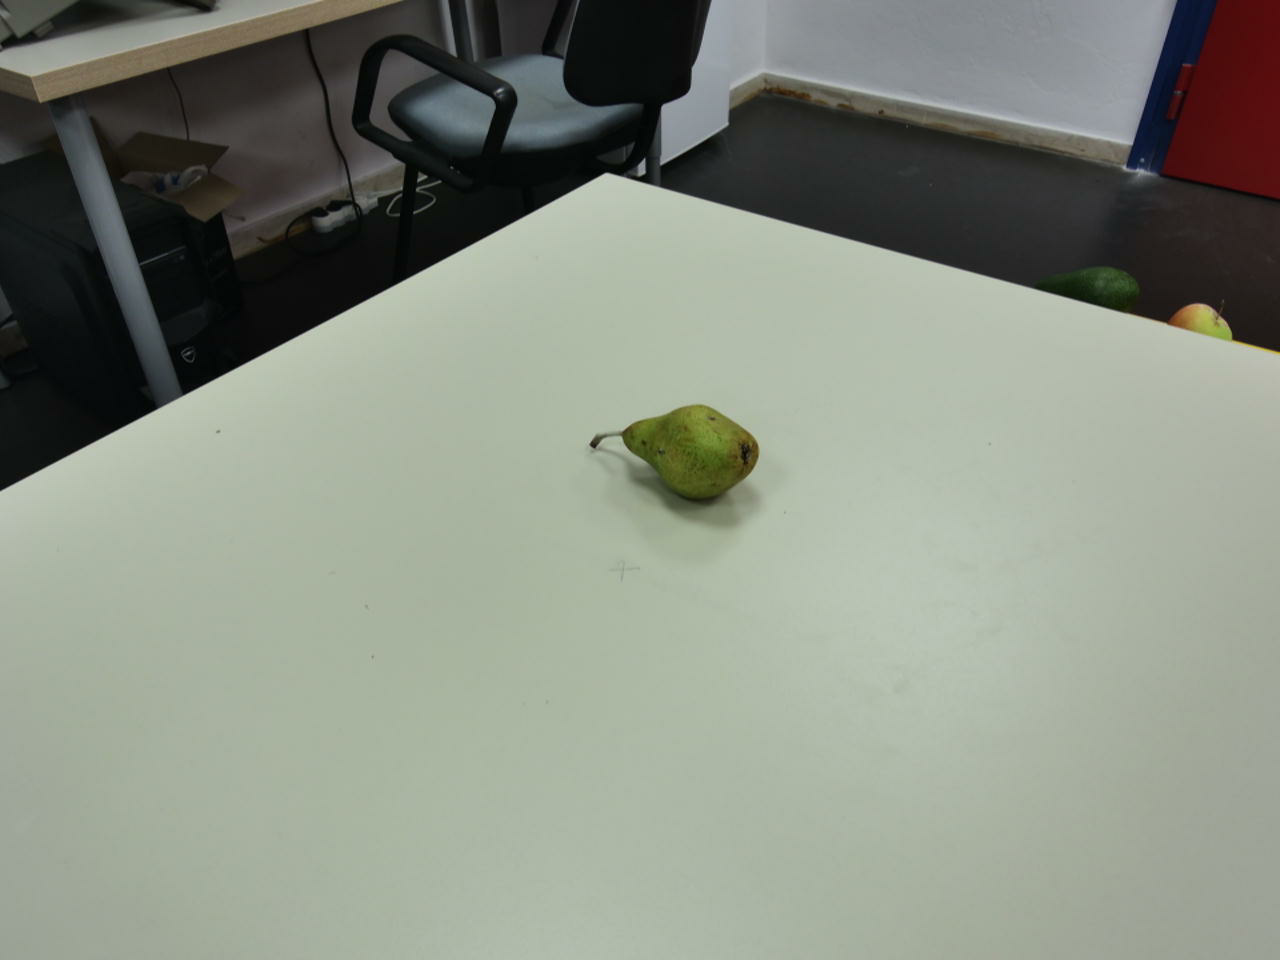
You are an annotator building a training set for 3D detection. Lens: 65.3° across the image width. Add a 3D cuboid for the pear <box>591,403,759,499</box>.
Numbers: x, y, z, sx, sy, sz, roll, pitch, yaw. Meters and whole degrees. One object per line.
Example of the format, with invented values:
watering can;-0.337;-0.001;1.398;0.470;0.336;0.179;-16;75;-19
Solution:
pear;0.023;-0.025;0.610;0.056;0.056;0.111;-26;44;-29
